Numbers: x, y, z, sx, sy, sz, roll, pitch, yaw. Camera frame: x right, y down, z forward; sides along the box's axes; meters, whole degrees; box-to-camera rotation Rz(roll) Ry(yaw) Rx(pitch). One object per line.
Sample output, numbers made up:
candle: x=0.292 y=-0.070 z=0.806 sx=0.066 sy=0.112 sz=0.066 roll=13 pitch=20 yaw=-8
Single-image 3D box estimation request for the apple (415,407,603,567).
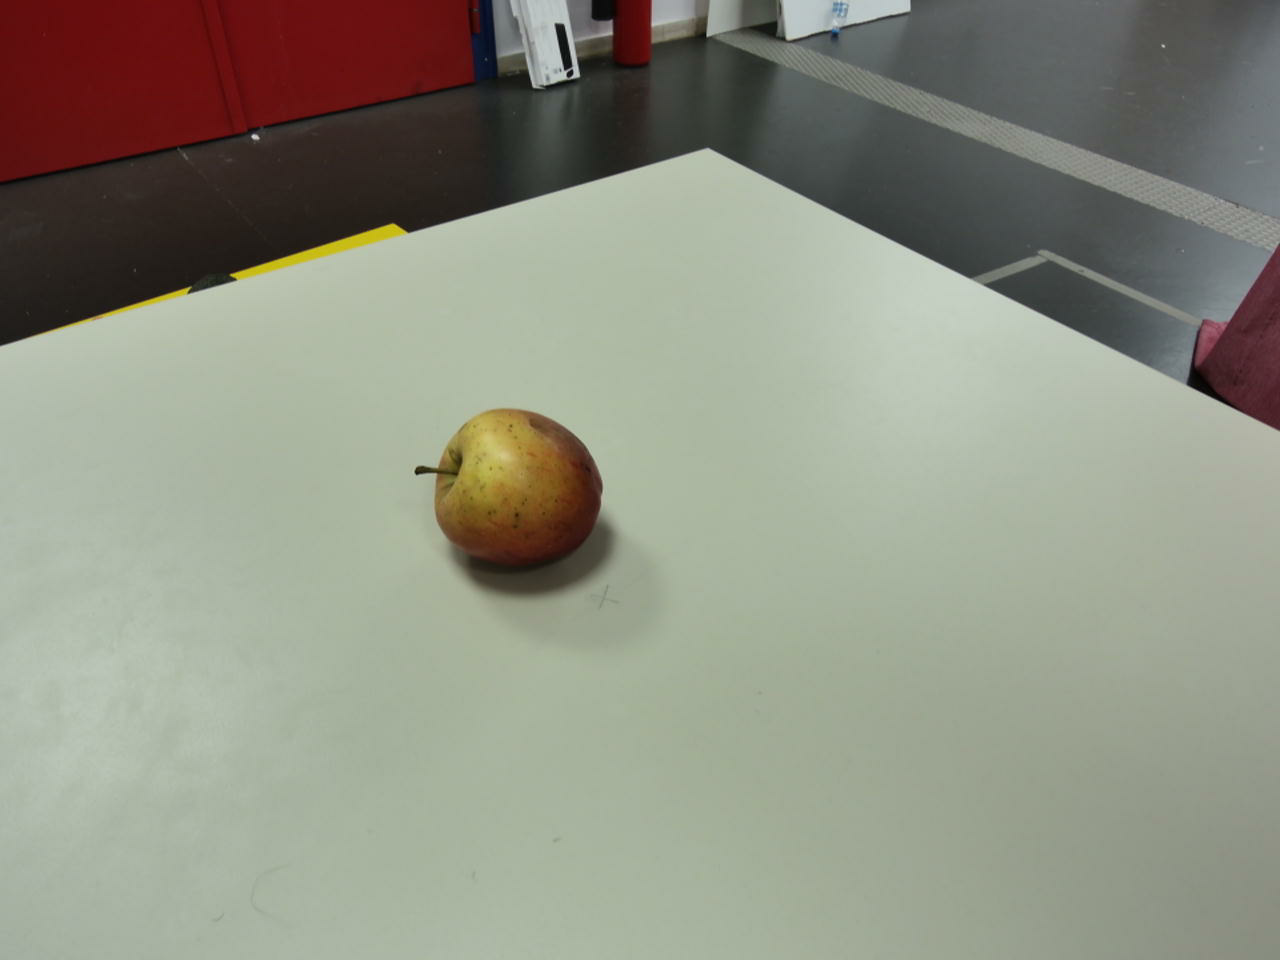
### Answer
apple: x=-0.067 y=0.004 z=0.540 sx=0.093 sy=0.084 sz=0.086 roll=13 pitch=39 yaw=13
